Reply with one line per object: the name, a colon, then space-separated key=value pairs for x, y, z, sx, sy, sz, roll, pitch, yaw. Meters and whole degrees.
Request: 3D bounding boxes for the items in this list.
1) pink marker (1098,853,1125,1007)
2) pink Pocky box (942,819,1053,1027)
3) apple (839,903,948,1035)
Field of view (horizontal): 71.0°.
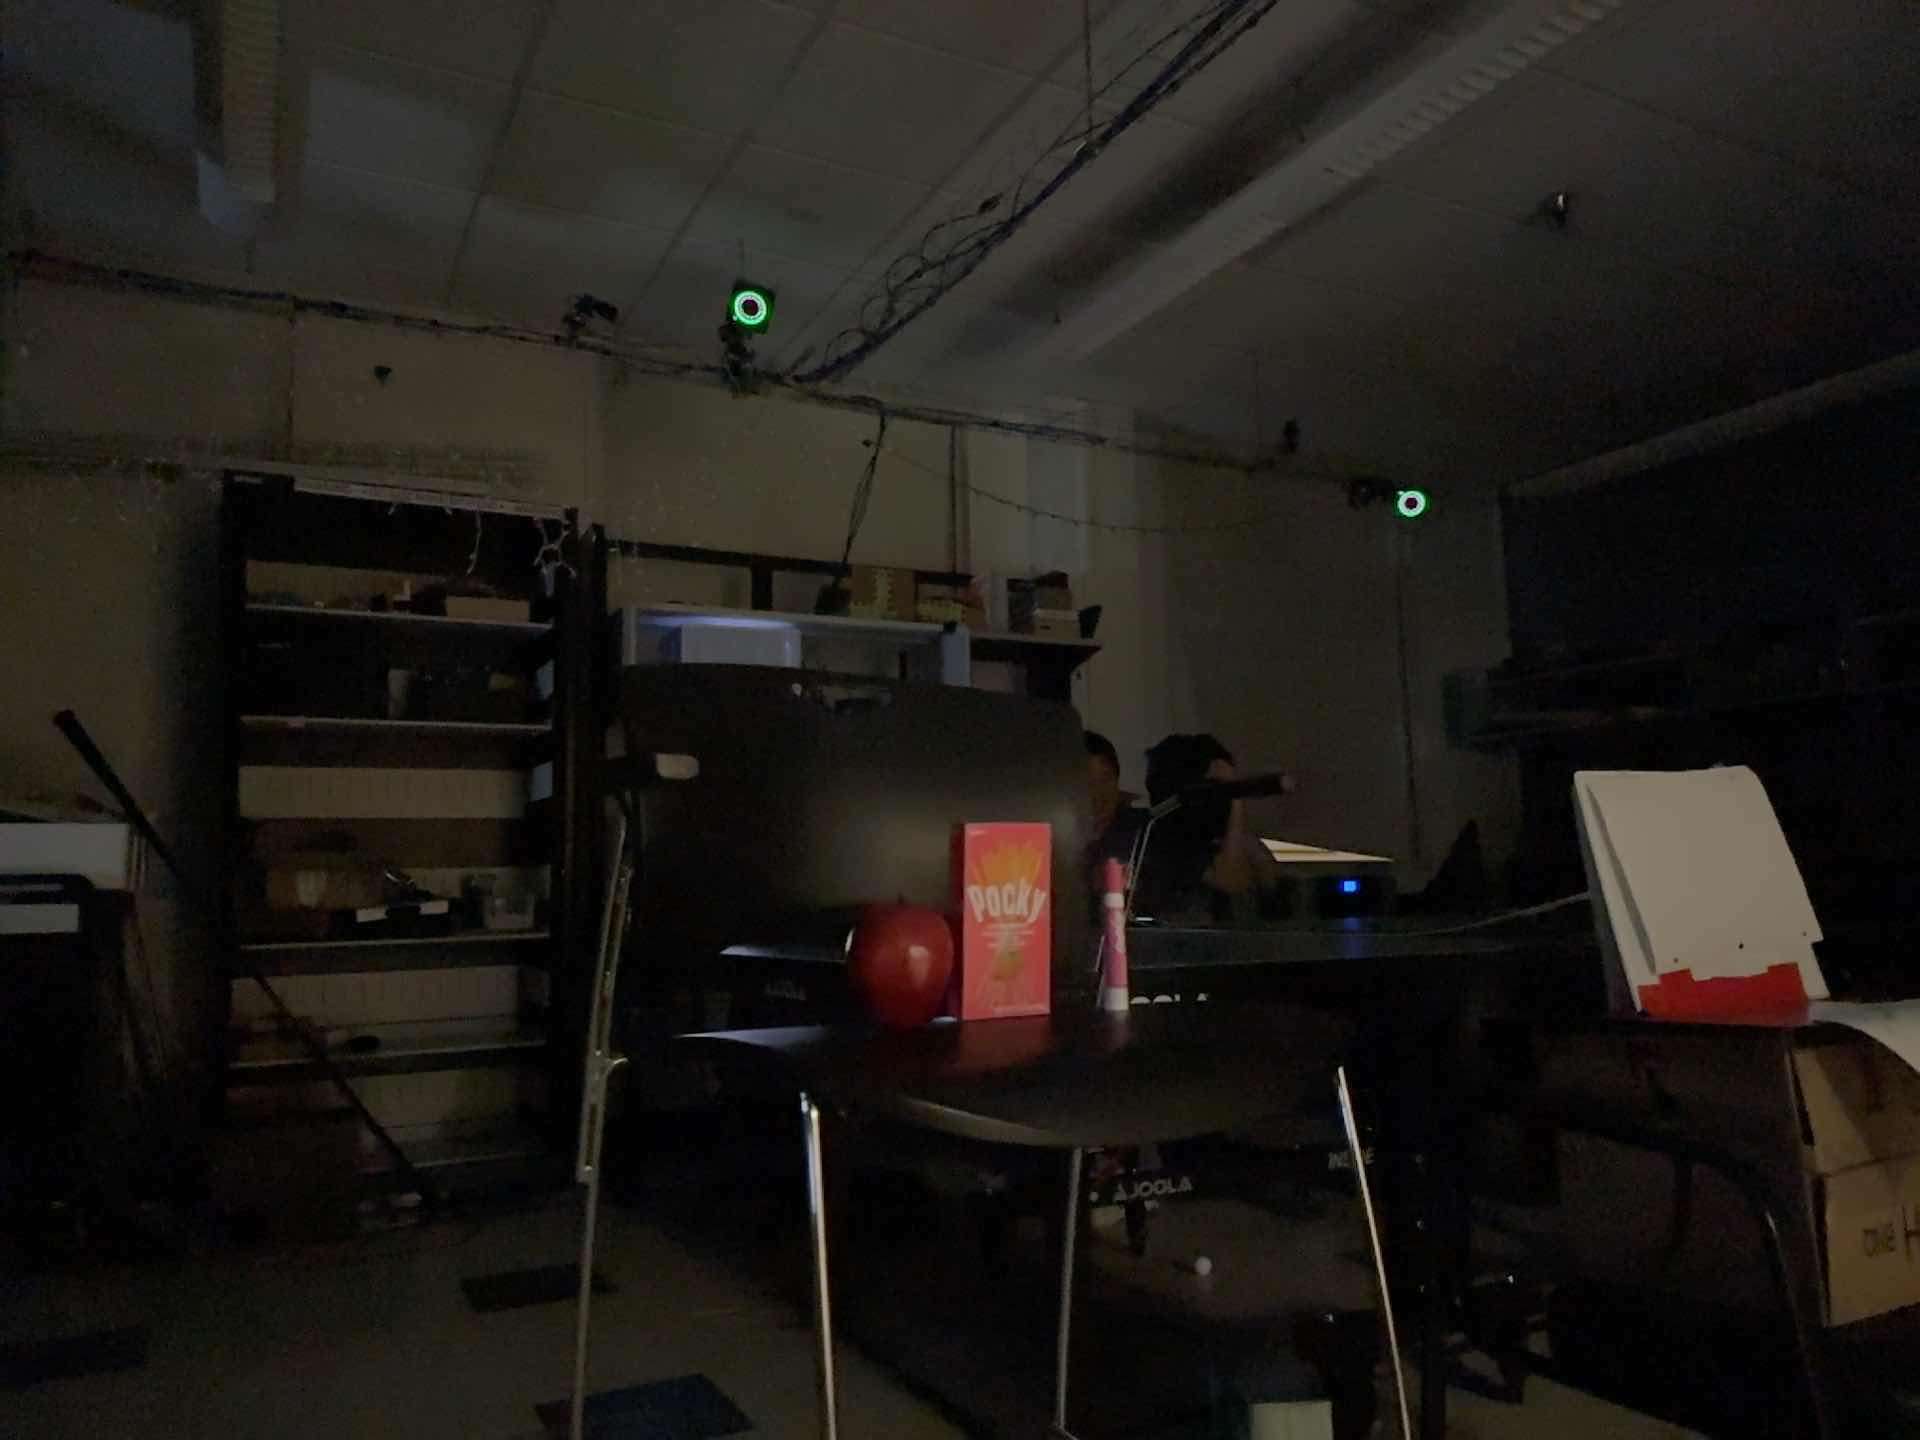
pink marker: x=0.121 y=0.168 z=1.081 sx=0.020 sy=0.121 sz=0.020 roll=0 pitch=-7 yaw=0
pink Pocky box: x=0.029 y=0.153 z=1.032 sx=0.084 sy=0.155 sz=0.029 roll=3 pitch=-6 yaw=-29
apple: x=-0.049 y=0.180 z=0.978 sx=0.079 sy=0.093 sz=0.079 roll=-3 pitch=-11 yaw=-1
